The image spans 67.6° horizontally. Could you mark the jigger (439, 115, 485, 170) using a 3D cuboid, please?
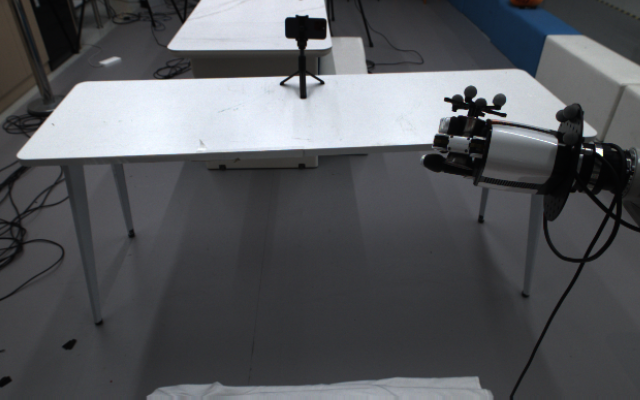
[{"bbox_3d":[0.204,-0.082,0.680,0.043,0.071,0.043,17,2,-1],"label":"jigger"}]
